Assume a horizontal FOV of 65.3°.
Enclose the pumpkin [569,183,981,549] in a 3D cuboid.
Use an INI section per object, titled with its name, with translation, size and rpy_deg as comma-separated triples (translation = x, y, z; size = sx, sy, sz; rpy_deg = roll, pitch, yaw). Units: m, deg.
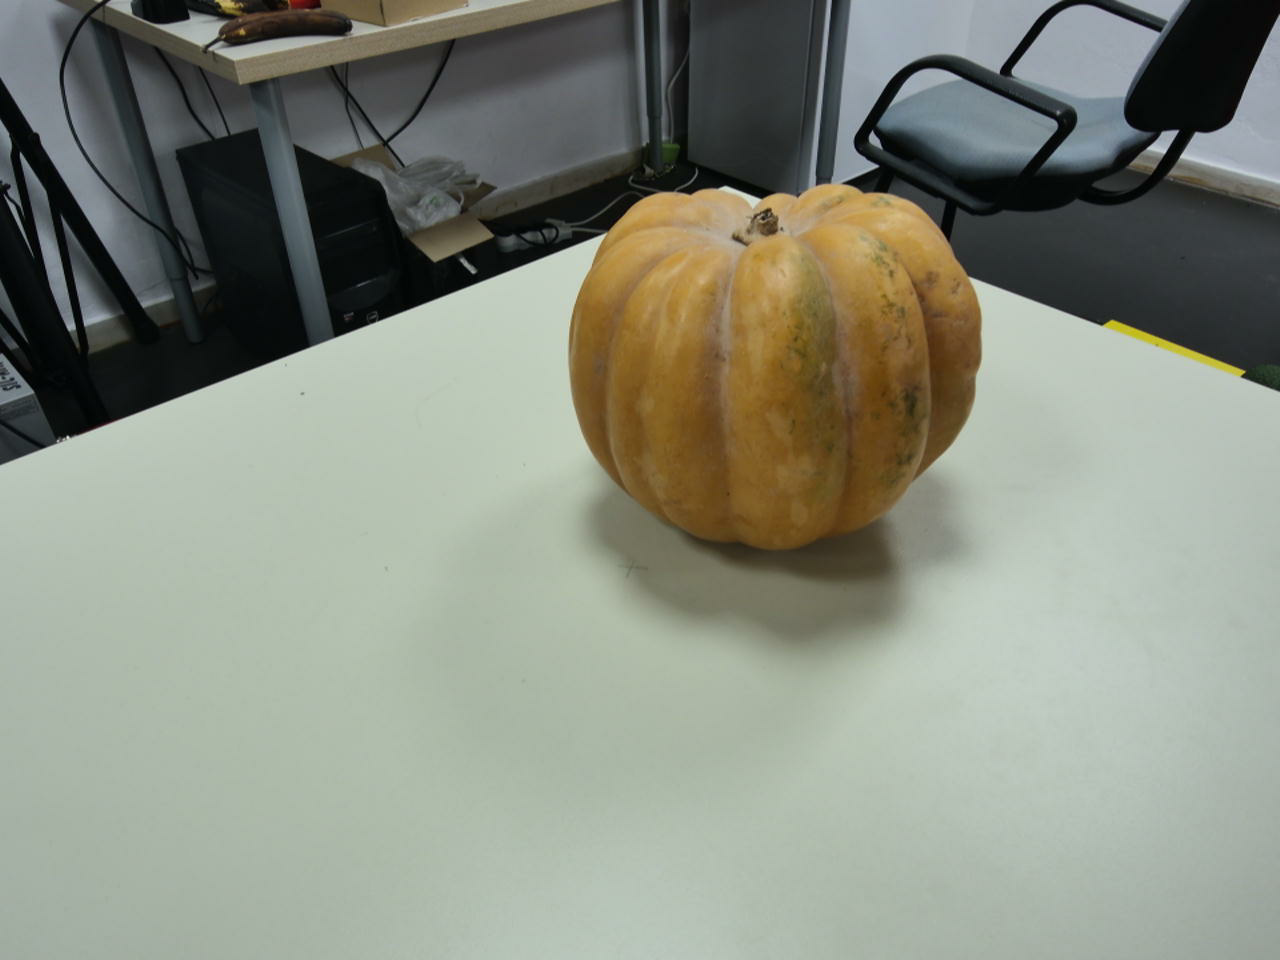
[pumpkin]
translation = 0.072, -0.066, 0.564
size = 0.230, 0.194, 0.230
rpy_deg = 0, 37, 0
